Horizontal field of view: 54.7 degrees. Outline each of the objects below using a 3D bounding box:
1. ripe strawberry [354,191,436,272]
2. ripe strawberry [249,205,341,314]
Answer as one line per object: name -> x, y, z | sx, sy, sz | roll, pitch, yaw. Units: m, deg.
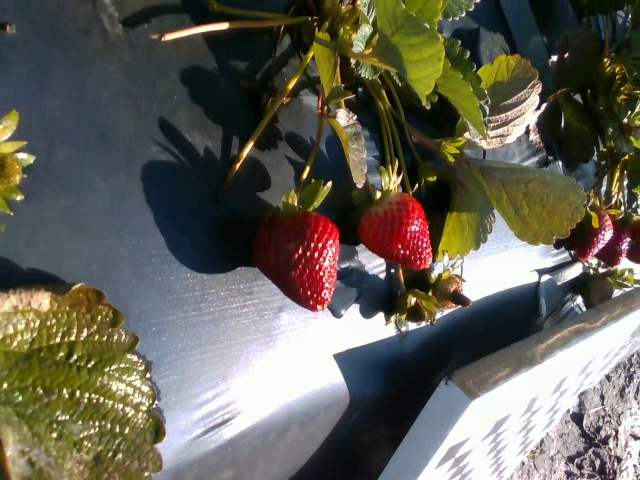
ripe strawberry -> 0.044, -0.002, 0.324 | 0.042, 0.049, 0.039 | -37, -5, -7
ripe strawberry -> -0.007, 0.012, 0.274 | 0.044, 0.050, 0.050 | -32, -23, 27
